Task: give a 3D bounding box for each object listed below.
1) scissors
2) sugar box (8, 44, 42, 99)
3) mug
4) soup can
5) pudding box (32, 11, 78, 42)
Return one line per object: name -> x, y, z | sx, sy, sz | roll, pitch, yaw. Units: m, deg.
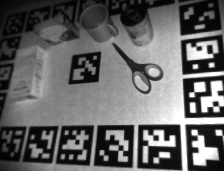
scissors -> 0.052, -0.064, 0.608 | 0.087, 0.016, 0.200 | -48, 64, 11
sugar box -> -0.288, -0.049, 0.720 | 0.092, 0.046, 0.176 | -7, 72, 21
mug -> -0.039, -0.196, 0.650 | 0.093, 0.082, 0.116 | -39, 62, 8
soup can -> 0.066, -0.167, 0.598 | 0.067, 0.103, 0.067 | -7, 69, 20
pudding box -> -0.181, -0.187, 0.692 | 0.113, 0.091, 0.038 | -14, 74, 16
